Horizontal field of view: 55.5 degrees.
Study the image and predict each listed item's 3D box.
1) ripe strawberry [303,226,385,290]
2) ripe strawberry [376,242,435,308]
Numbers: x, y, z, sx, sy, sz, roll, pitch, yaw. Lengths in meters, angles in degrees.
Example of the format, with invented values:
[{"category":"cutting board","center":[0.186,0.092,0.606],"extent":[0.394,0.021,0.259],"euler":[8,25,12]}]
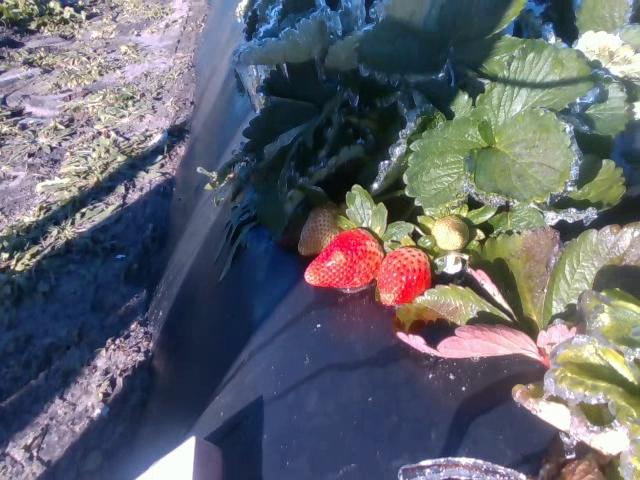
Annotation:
[{"category":"ripe strawberry","center":[0.011,0.016,0.354],"extent":[0.051,0.040,0.036],"euler":[-22,16,-30]},{"category":"ripe strawberry","center":[0.045,0.022,0.334],"extent":[0.036,0.041,0.030],"euler":[-22,-56,42]}]
